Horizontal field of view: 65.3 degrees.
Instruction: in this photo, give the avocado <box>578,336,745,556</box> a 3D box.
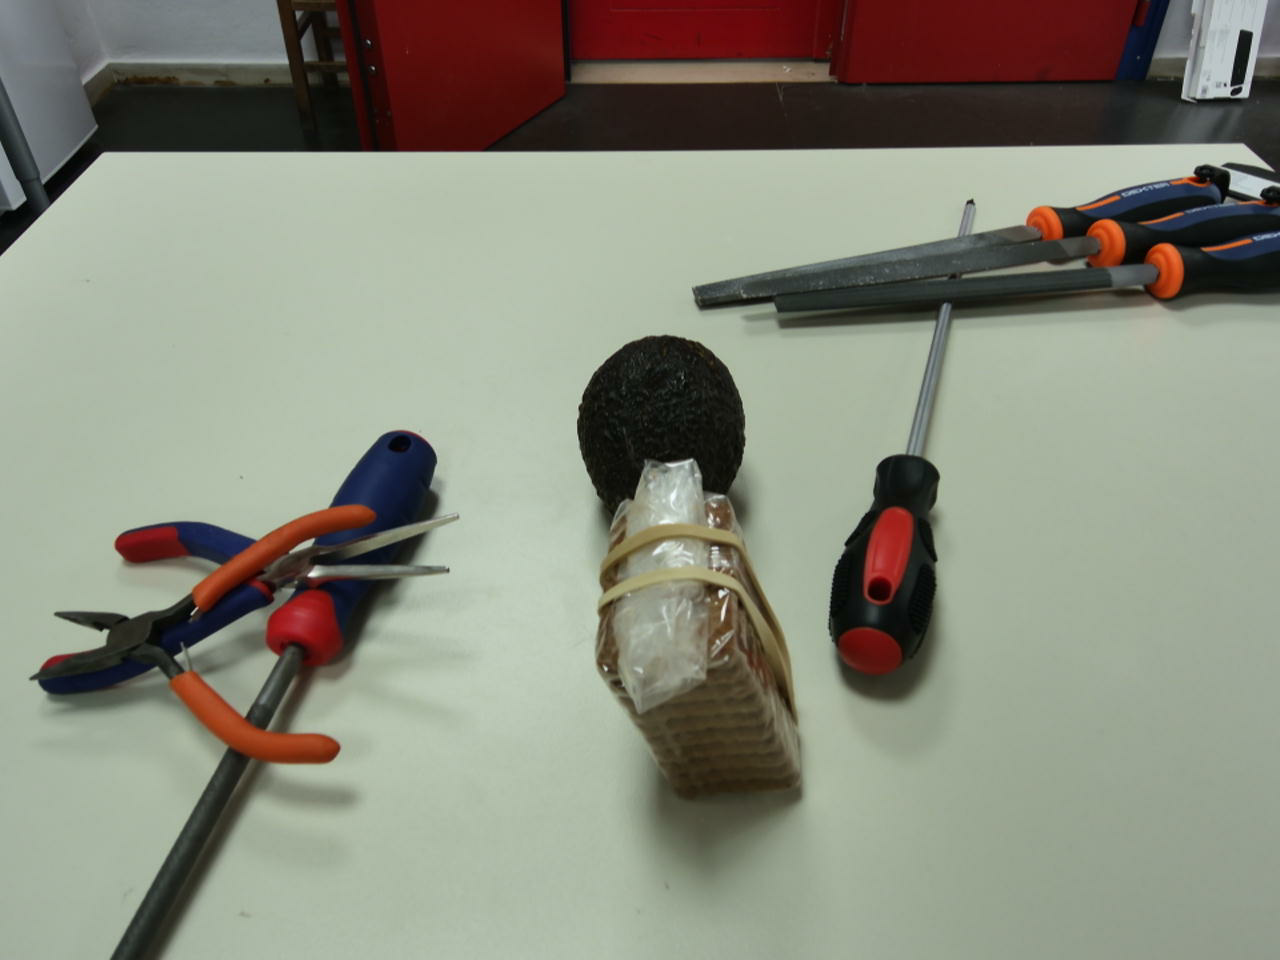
[{"bbox_3d":[0.007,-0.019,0.410,0.070,0.069,0.090,16,41,19],"label":"avocado"}]
